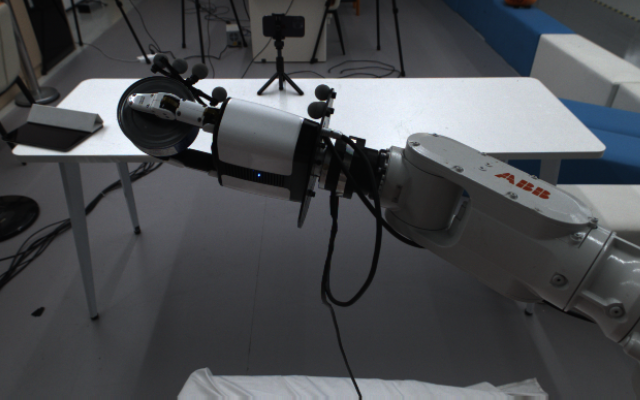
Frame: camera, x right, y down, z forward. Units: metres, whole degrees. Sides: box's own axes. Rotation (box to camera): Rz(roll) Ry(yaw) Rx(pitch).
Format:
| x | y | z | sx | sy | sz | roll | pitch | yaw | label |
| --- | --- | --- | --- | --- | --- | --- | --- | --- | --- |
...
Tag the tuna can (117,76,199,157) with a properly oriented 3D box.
| x | y | z | sx | sy | sz | roll | pitch | yaw | label |
| --- | --- | --- | --- | --- | --- | --- | --- | --- | --- |
| -0.179 | -0.093 | 0.547 | 0.085 | 0.034 | 0.085 | 1 | 75 | -4 | tuna can |
